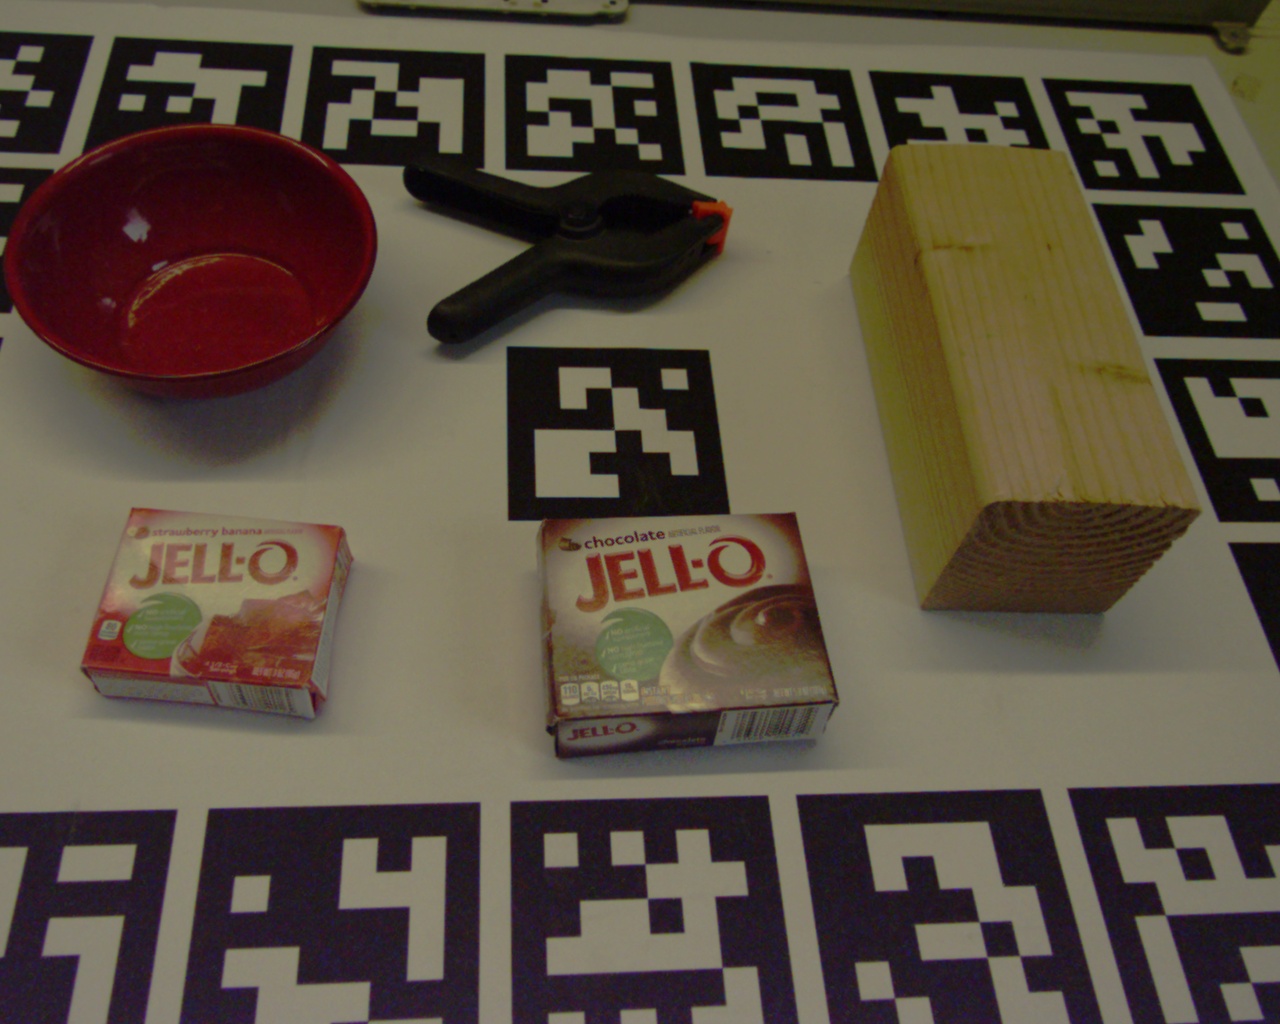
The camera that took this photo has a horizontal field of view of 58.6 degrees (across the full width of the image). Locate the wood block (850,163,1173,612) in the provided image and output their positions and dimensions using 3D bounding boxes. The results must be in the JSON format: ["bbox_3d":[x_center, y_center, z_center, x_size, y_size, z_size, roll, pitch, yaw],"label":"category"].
[{"bbox_3d":[0.173,-0.063,0.562,0.089,0.091,0.207,2,59,-8],"label":"wood block"}]

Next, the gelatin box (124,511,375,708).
[{"bbox_3d":[-0.164,0.041,0.488,0.089,0.030,0.073,7,60,-4],"label":"gelatin box"}]

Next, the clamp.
[{"bbox_3d":[-0.047,-0.139,0.621,0.164,0.036,0.122,-9,60,-15],"label":"clamp"}]

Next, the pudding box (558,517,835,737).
[{"bbox_3d":[0.021,0.050,0.504,0.113,0.038,0.090,-2,63,-6],"label":"pudding box"}]

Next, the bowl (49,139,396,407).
[{"bbox_3d":[-0.201,-0.109,0.569,0.161,0.055,0.162,3,61,-7],"label":"bowl"}]
